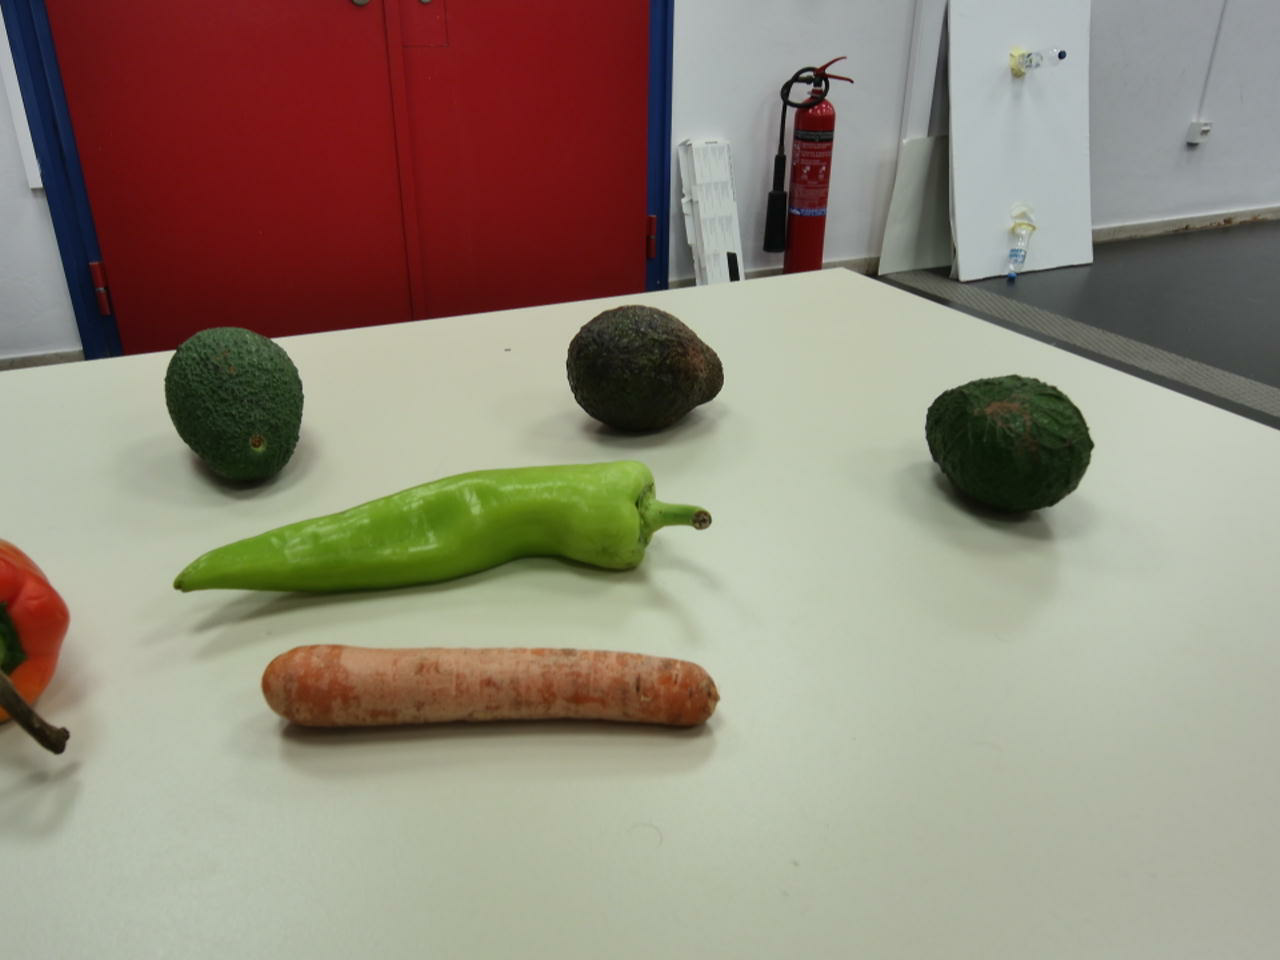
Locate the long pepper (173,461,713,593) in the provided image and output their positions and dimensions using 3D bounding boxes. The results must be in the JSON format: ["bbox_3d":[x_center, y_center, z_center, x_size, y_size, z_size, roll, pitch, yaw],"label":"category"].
[{"bbox_3d":[-0.076,0.020,0.411,0.204,0.045,0.065,-4,24,-9],"label":"long pepper"}]
